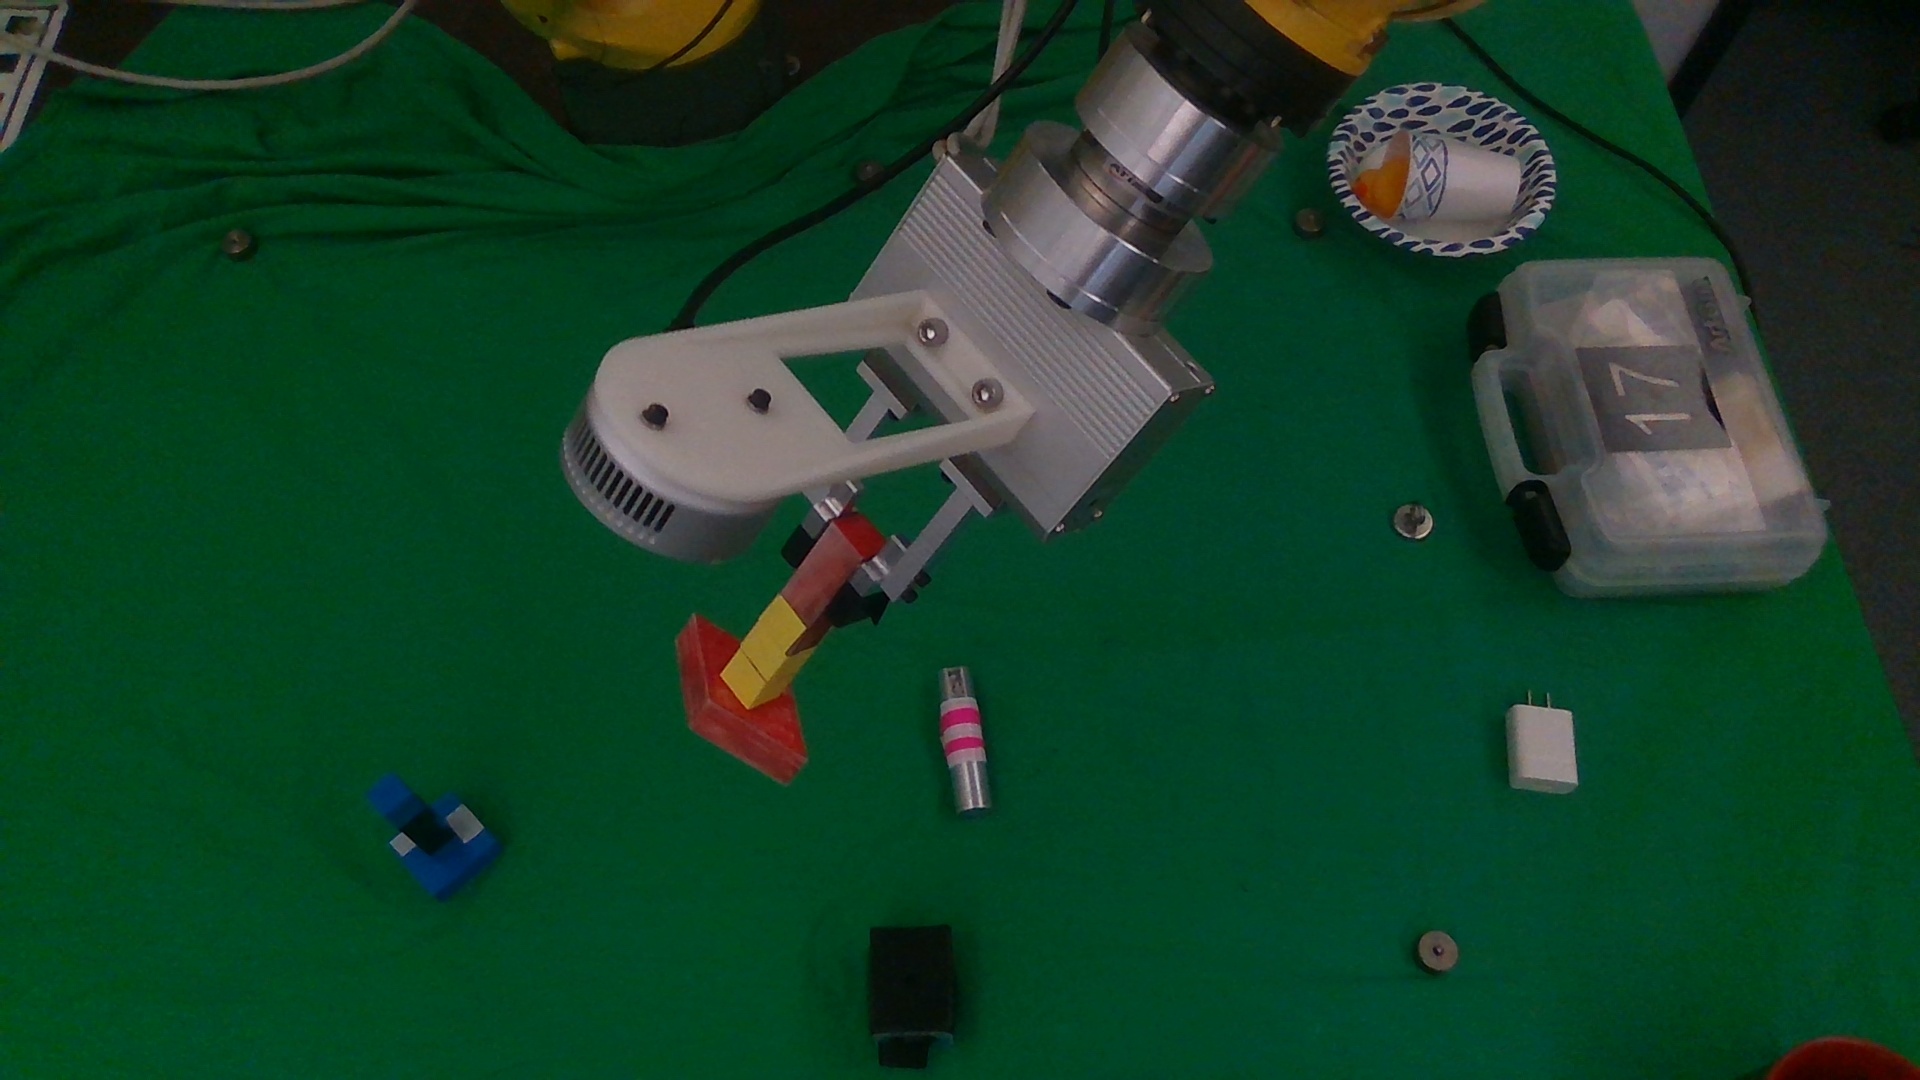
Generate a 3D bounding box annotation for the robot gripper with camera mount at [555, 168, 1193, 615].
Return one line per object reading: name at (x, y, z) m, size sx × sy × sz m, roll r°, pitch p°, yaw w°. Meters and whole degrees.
robot gripper with camera mount at (-0.052, -0.017, 0.455) m, size 0.119 × 0.159 × 0.193 m, roll 48°, pitch 36°, yaw 12°

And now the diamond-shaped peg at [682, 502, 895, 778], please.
diamond-shaped peg at (-0.067, 0.033, 0.575) m, size 0.074 × 0.122 × 0.045 m, roll 37°, pitch 31°, yaw -6°
